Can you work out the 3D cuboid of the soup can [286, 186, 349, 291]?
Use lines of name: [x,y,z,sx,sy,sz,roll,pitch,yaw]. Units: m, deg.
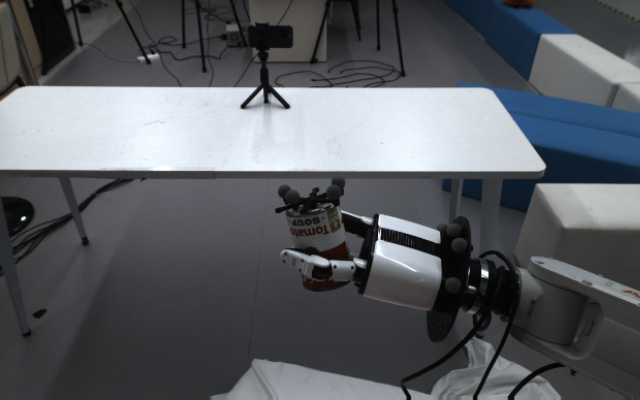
soup can: [0.003,0.052,0.597,0.067,0.101,0.067,-12,17,4]
